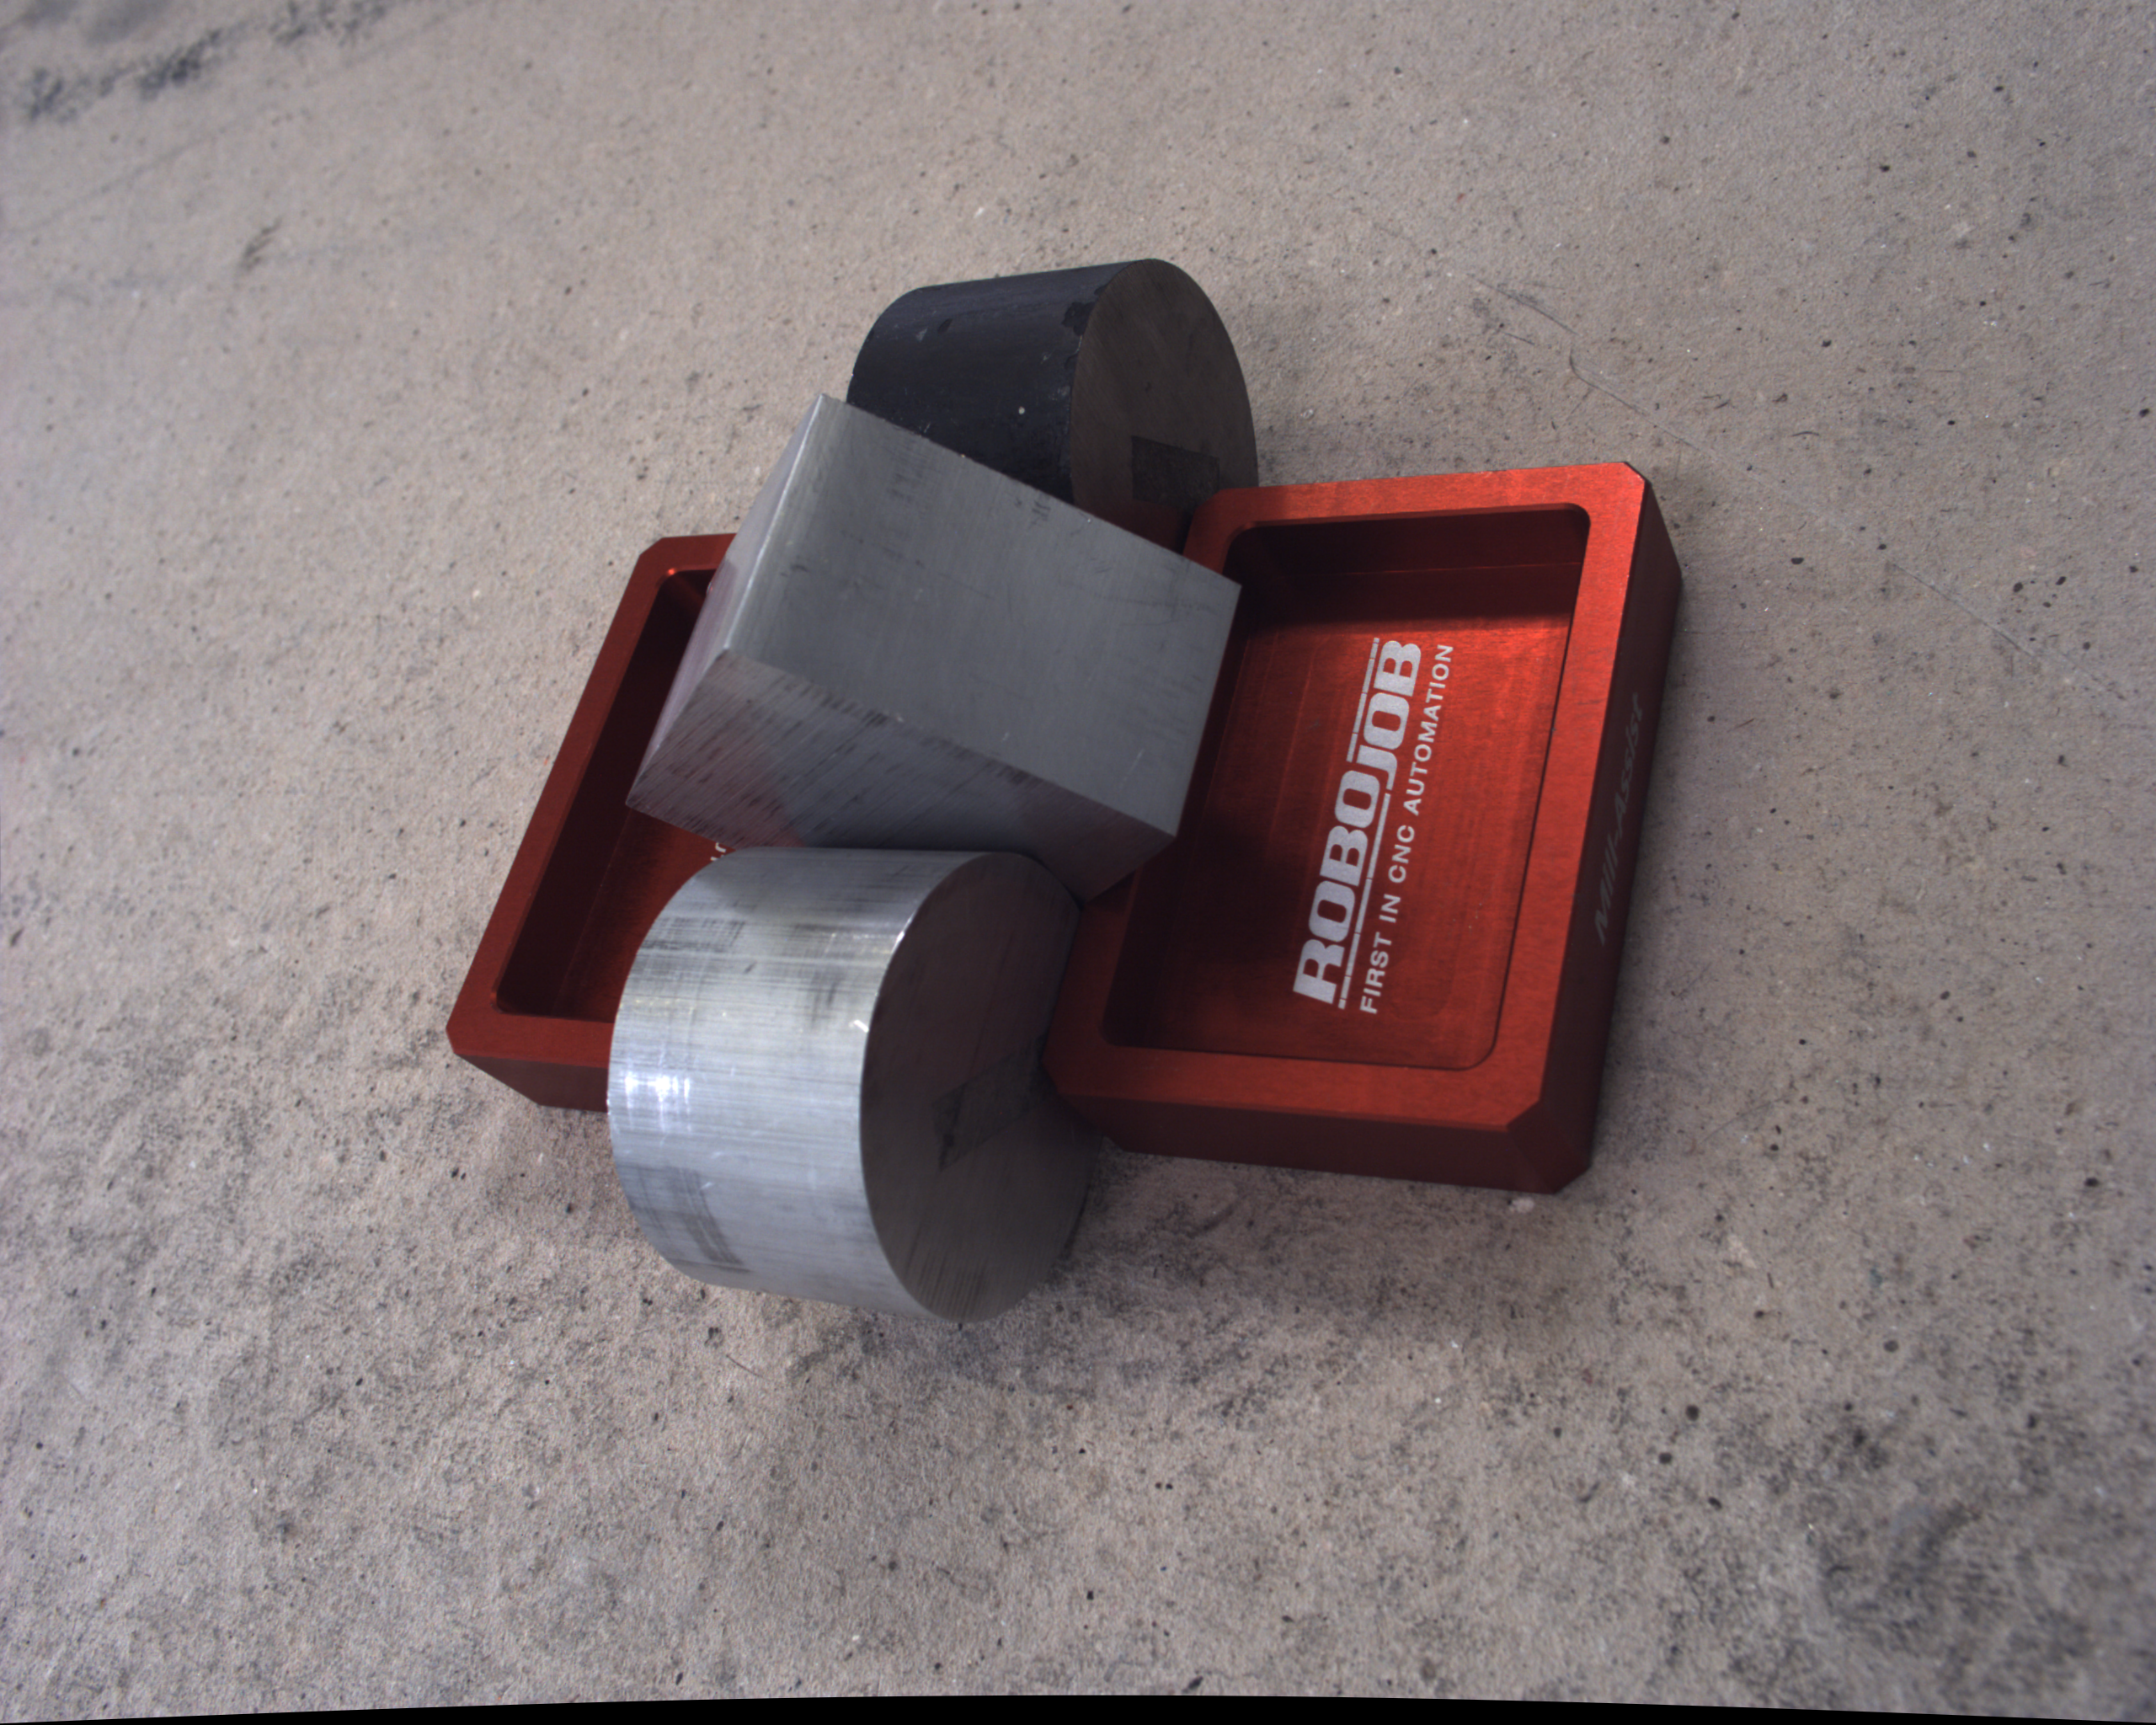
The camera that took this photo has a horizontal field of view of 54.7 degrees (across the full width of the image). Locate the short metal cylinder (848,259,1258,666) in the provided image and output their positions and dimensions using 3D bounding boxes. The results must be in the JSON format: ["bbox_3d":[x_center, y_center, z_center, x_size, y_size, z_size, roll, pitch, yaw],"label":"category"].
[{"bbox_3d":[-0.004,-0.078,0.420,0.050,0.080,0.080,2,63,29],"label":"short metal cylinder"}]

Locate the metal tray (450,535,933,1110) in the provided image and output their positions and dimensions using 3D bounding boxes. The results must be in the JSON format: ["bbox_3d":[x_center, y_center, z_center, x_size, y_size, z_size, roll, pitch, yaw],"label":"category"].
[{"bbox_3d":[-0.070,-0.010,0.445,0.090,0.030,0.130,2,62,29],"label":"metal tray"}]

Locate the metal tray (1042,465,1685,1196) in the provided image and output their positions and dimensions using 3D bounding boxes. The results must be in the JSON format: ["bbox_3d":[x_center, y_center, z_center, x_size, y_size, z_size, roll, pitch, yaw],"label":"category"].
[{"bbox_3d":[0.054,-0.009,0.380,0.090,0.030,0.130,2,62,29],"label":"metal tray"}]

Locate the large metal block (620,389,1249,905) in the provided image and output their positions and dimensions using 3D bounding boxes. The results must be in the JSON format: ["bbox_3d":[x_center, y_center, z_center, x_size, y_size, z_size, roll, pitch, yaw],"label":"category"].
[{"bbox_3d":[-0.028,-0.030,0.377,0.080,0.080,0.050,-35,36,61],"label":"large metal block"}]

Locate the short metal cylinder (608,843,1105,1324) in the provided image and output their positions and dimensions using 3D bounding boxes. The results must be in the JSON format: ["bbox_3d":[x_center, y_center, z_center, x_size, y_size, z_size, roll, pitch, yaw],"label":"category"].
[{"bbox_3d":[-0.036,0.037,0.366,0.050,0.080,0.080,2,63,29],"label":"short metal cylinder"}]
